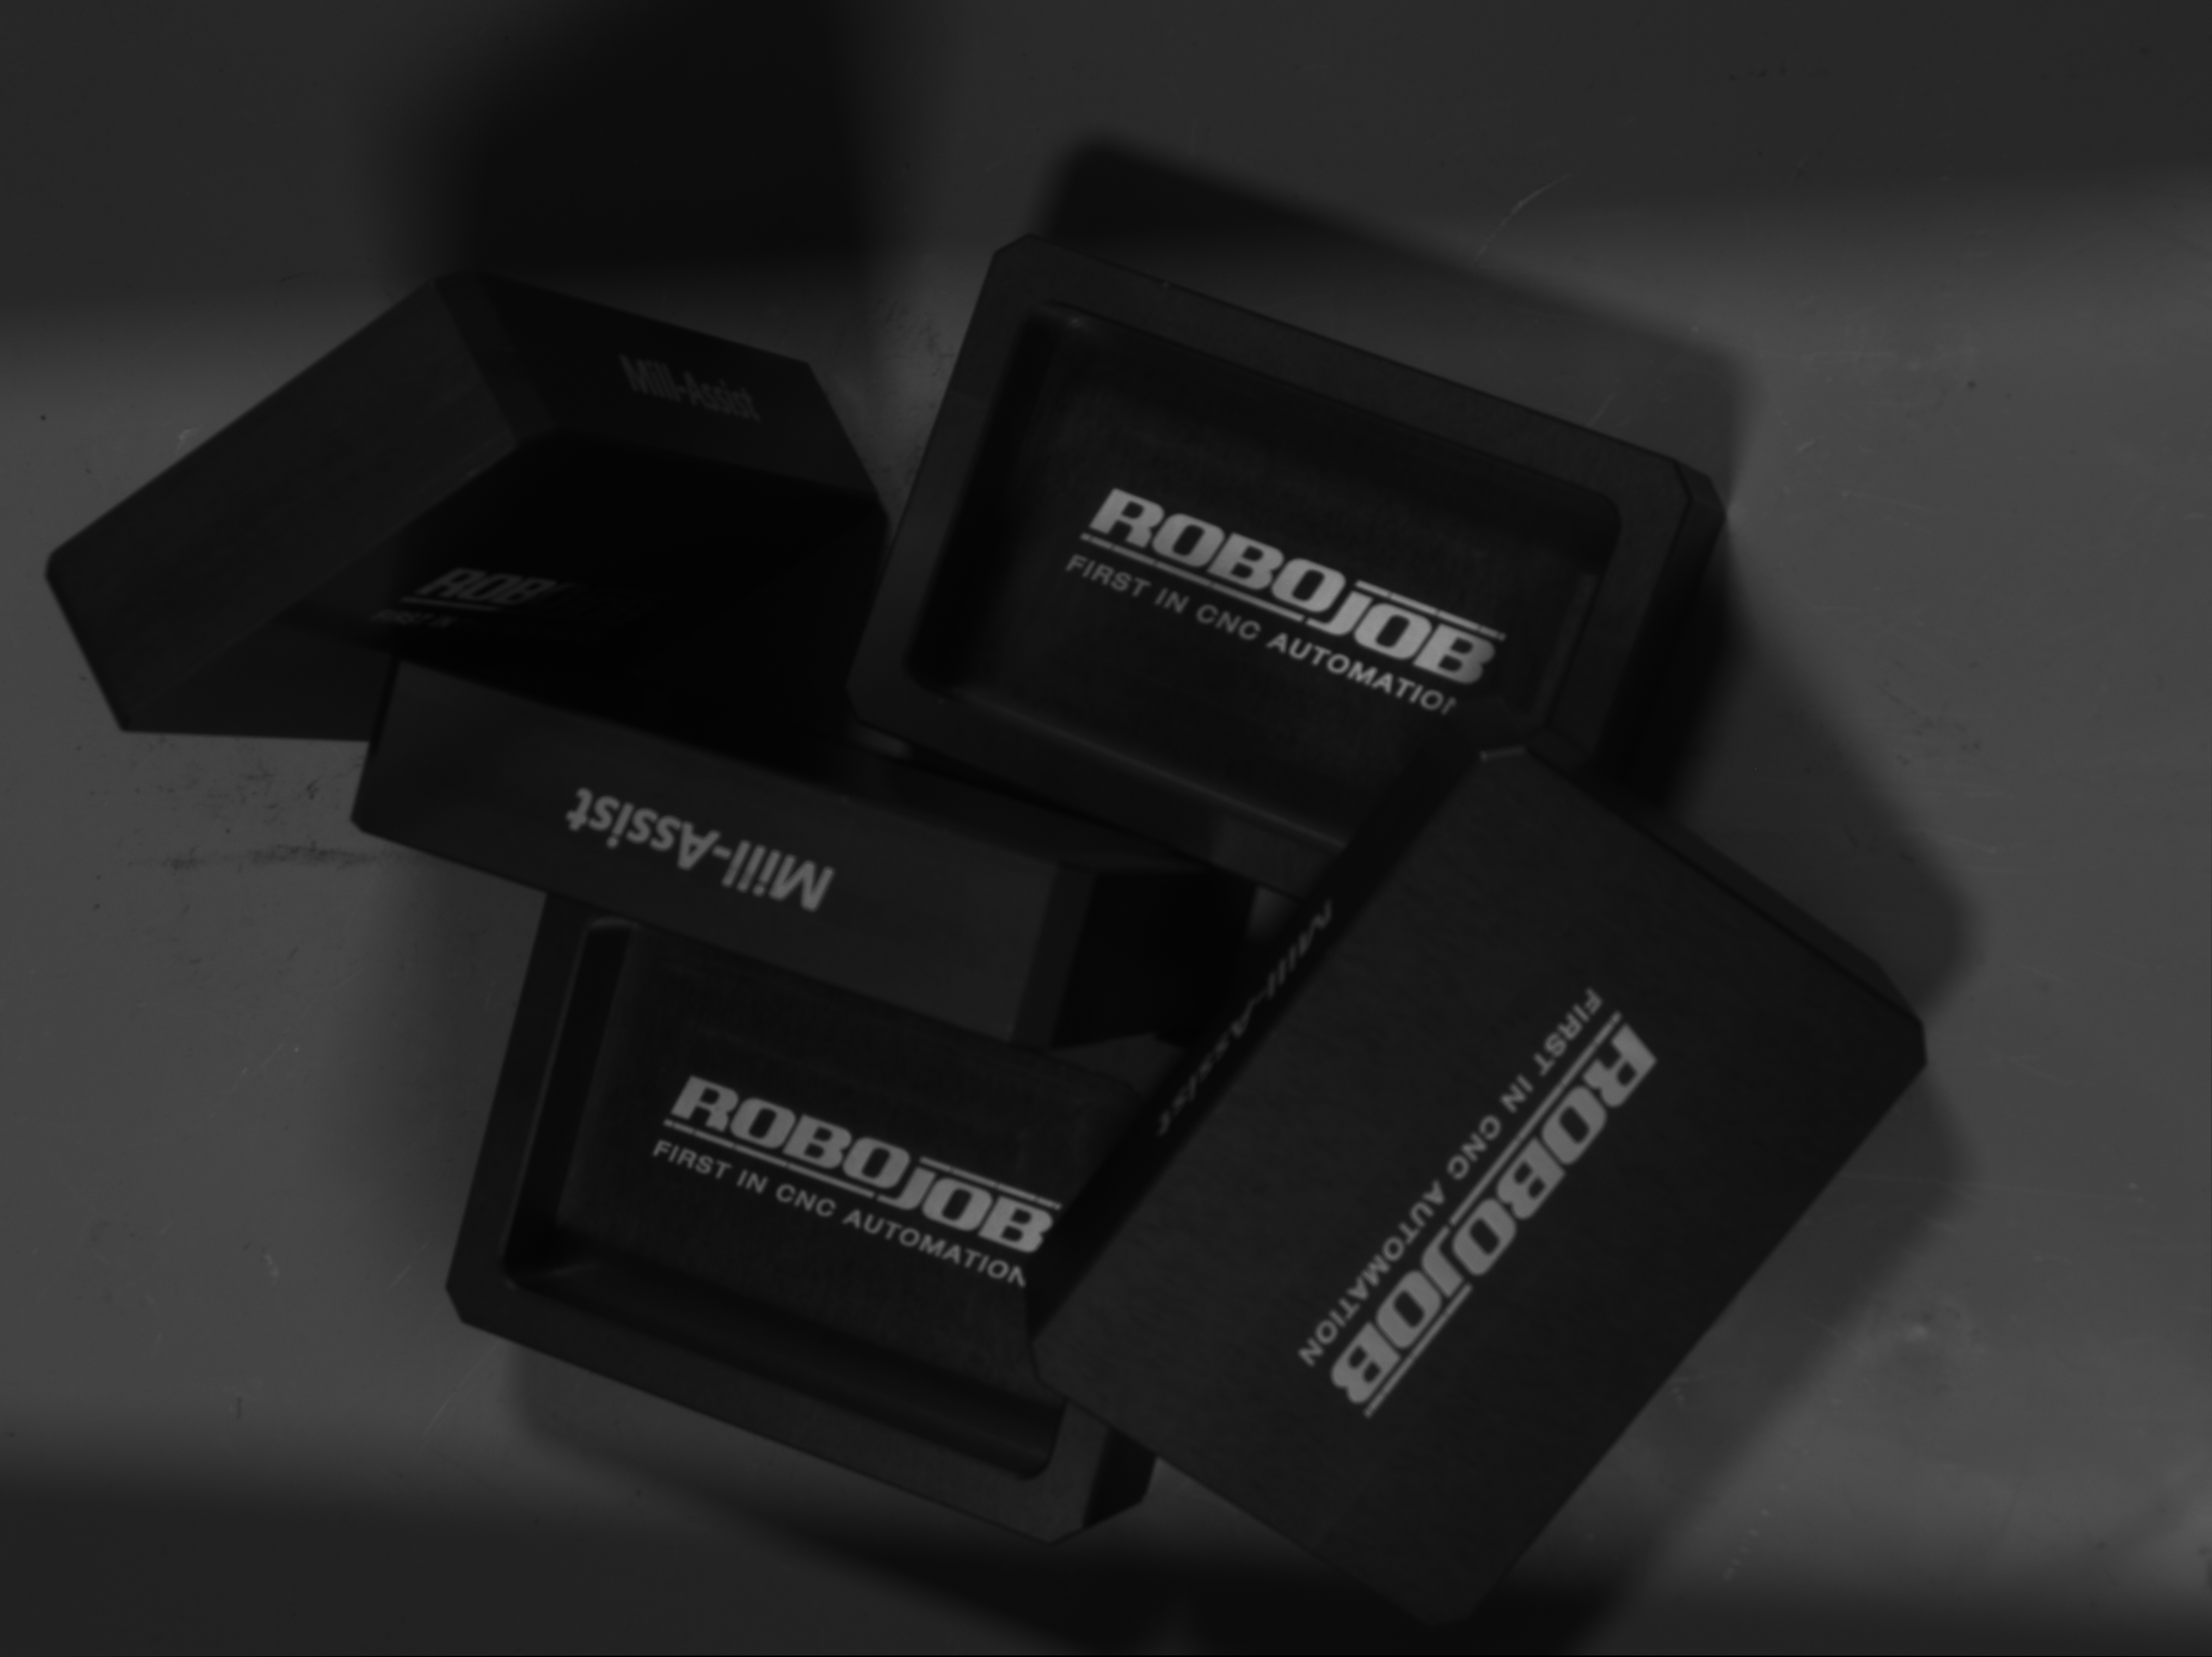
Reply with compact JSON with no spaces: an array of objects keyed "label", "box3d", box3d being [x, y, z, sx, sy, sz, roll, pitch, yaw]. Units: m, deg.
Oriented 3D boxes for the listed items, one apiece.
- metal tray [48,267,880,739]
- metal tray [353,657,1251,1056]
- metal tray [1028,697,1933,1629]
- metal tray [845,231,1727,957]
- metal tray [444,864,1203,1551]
[{"label":"metal tray","box3d":[-0.105,-0.051,0.624,0.090,0.130,0.030,-32,80,17]},{"label":"metal tray","box3d":[-0.049,0.004,0.625,0.130,0.090,0.030,17,95,19]},{"label":"metal tray","box3d":[0.059,0.056,0.598,0.090,0.030,0.130,34,103,-12]},{"label":"metal tray","box3d":[0.030,-0.039,0.630,0.130,0.030,0.090,22,97,18]},{"label":"metal tray","box3d":[-0.047,0.064,0.655,0.130,0.030,0.090,17,96,19]}]
